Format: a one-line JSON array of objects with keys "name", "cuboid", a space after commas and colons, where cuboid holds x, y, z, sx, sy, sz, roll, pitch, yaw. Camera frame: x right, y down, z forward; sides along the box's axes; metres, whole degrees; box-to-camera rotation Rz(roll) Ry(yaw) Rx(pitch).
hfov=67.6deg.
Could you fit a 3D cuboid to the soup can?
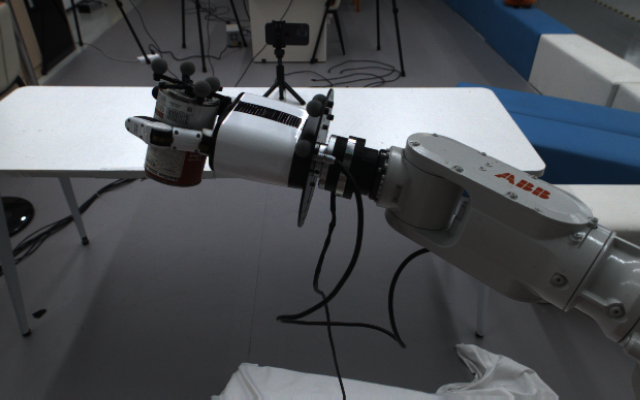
[{"name": "soup can", "cuboid": [-0.157, -0.074, 0.551, 0.067, 0.101, 0.067, 17, 22, -7]}]
